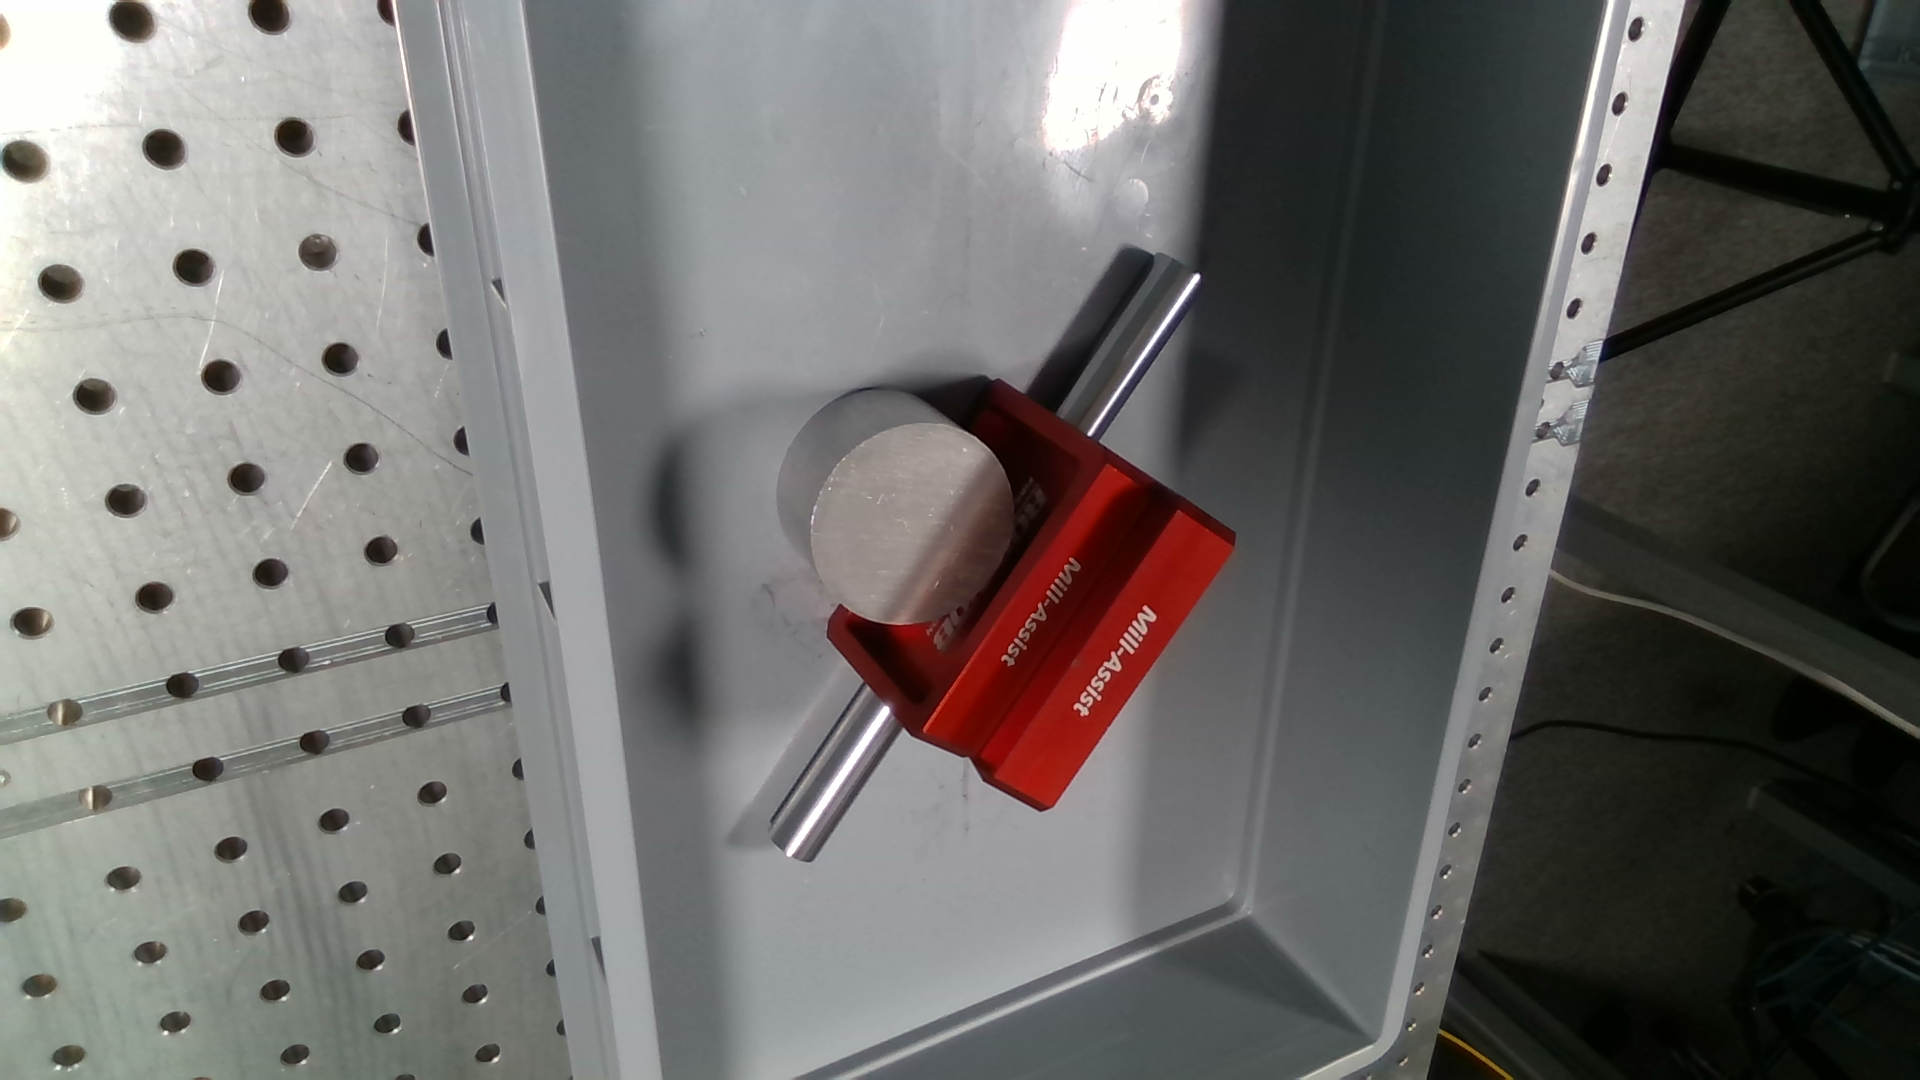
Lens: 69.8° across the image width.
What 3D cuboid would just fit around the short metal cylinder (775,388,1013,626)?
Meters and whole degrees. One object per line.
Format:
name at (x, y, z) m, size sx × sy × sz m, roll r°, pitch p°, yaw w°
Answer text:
short metal cylinder at (-0.026, -0.014, 0.533) m, size 0.080 × 0.050 × 0.080 m, roll -8°, pitch 114°, yaw -20°

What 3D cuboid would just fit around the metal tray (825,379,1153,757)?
metal tray at (0.008, 0.009, 0.548) m, size 0.030 × 0.090 × 0.130 m, roll 29°, pitch 98°, yaw -39°

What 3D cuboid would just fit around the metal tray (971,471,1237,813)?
metal tray at (0.046, 0.033, 0.550) m, size 0.030 × 0.090 × 0.130 m, roll 32°, pitch 96°, yaw -22°

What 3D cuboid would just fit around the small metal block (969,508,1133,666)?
small metal block at (0.041, 0.022, 0.616) m, size 0.050 × 0.025 × 0.050 m, roll 31°, pitch 97°, yaw -39°

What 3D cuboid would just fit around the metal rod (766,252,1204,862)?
metal rod at (0.008, 0.010, 0.592) m, size 0.025 × 0.025 × 0.300 m, roll 29°, pitch 98°, yaw -39°
